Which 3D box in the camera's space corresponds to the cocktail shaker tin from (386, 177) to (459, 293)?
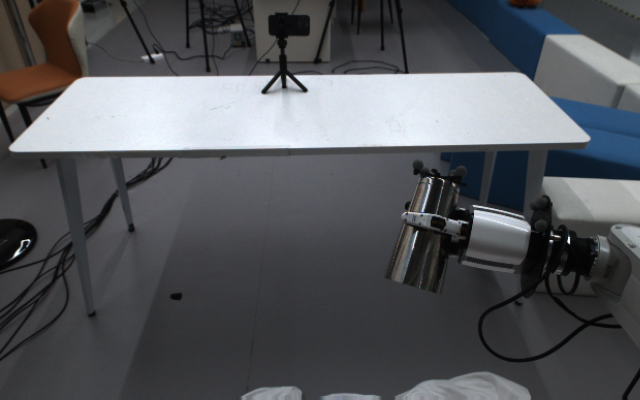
[{"bbox_3d":[0.166,0.052,0.765,0.093,0.170,0.093,16,-6,2],"label":"cocktail shaker tin"}]
